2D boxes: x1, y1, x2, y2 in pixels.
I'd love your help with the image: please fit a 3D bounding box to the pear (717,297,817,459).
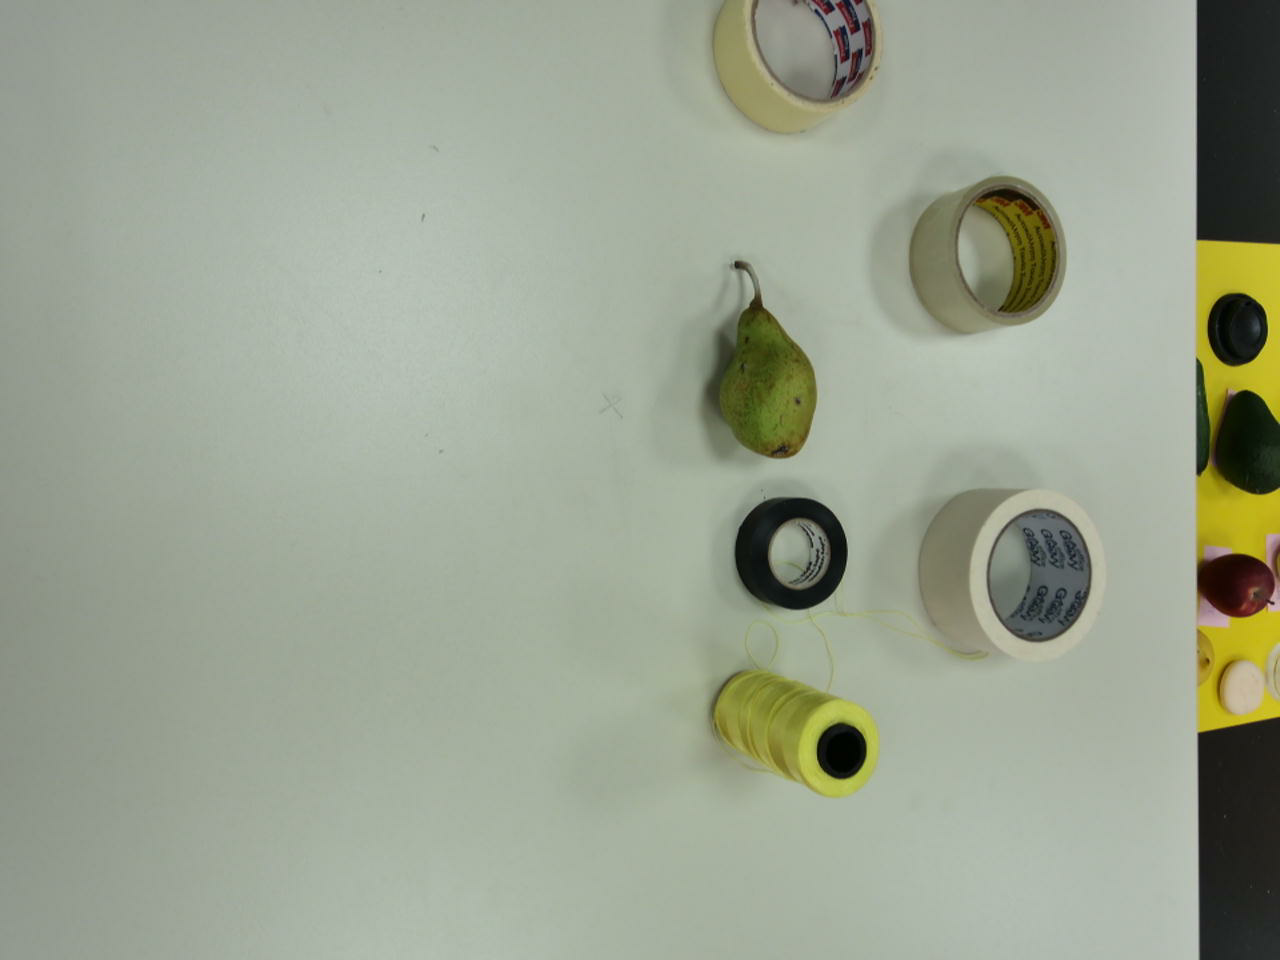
[{"bbox_3d":[0.080,-0.068,0.587,0.056,0.056,0.111,15,84,-21],"label":"pear"}]
